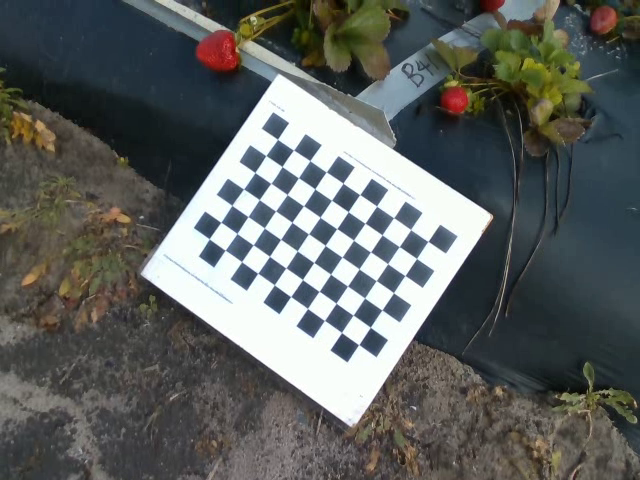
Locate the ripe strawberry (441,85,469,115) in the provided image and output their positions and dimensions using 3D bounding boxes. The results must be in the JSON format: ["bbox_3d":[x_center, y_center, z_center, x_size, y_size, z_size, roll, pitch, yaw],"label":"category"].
[{"bbox_3d":[0.154,-0.147,0.646,0.031,0.038,0.047,-47,-8,35],"label":"ripe strawberry"}]

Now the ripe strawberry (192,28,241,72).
[{"bbox_3d":[-0.107,-0.195,0.623,0.052,0.048,0.030,-15,-5,-22],"label":"ripe strawberry"}]
